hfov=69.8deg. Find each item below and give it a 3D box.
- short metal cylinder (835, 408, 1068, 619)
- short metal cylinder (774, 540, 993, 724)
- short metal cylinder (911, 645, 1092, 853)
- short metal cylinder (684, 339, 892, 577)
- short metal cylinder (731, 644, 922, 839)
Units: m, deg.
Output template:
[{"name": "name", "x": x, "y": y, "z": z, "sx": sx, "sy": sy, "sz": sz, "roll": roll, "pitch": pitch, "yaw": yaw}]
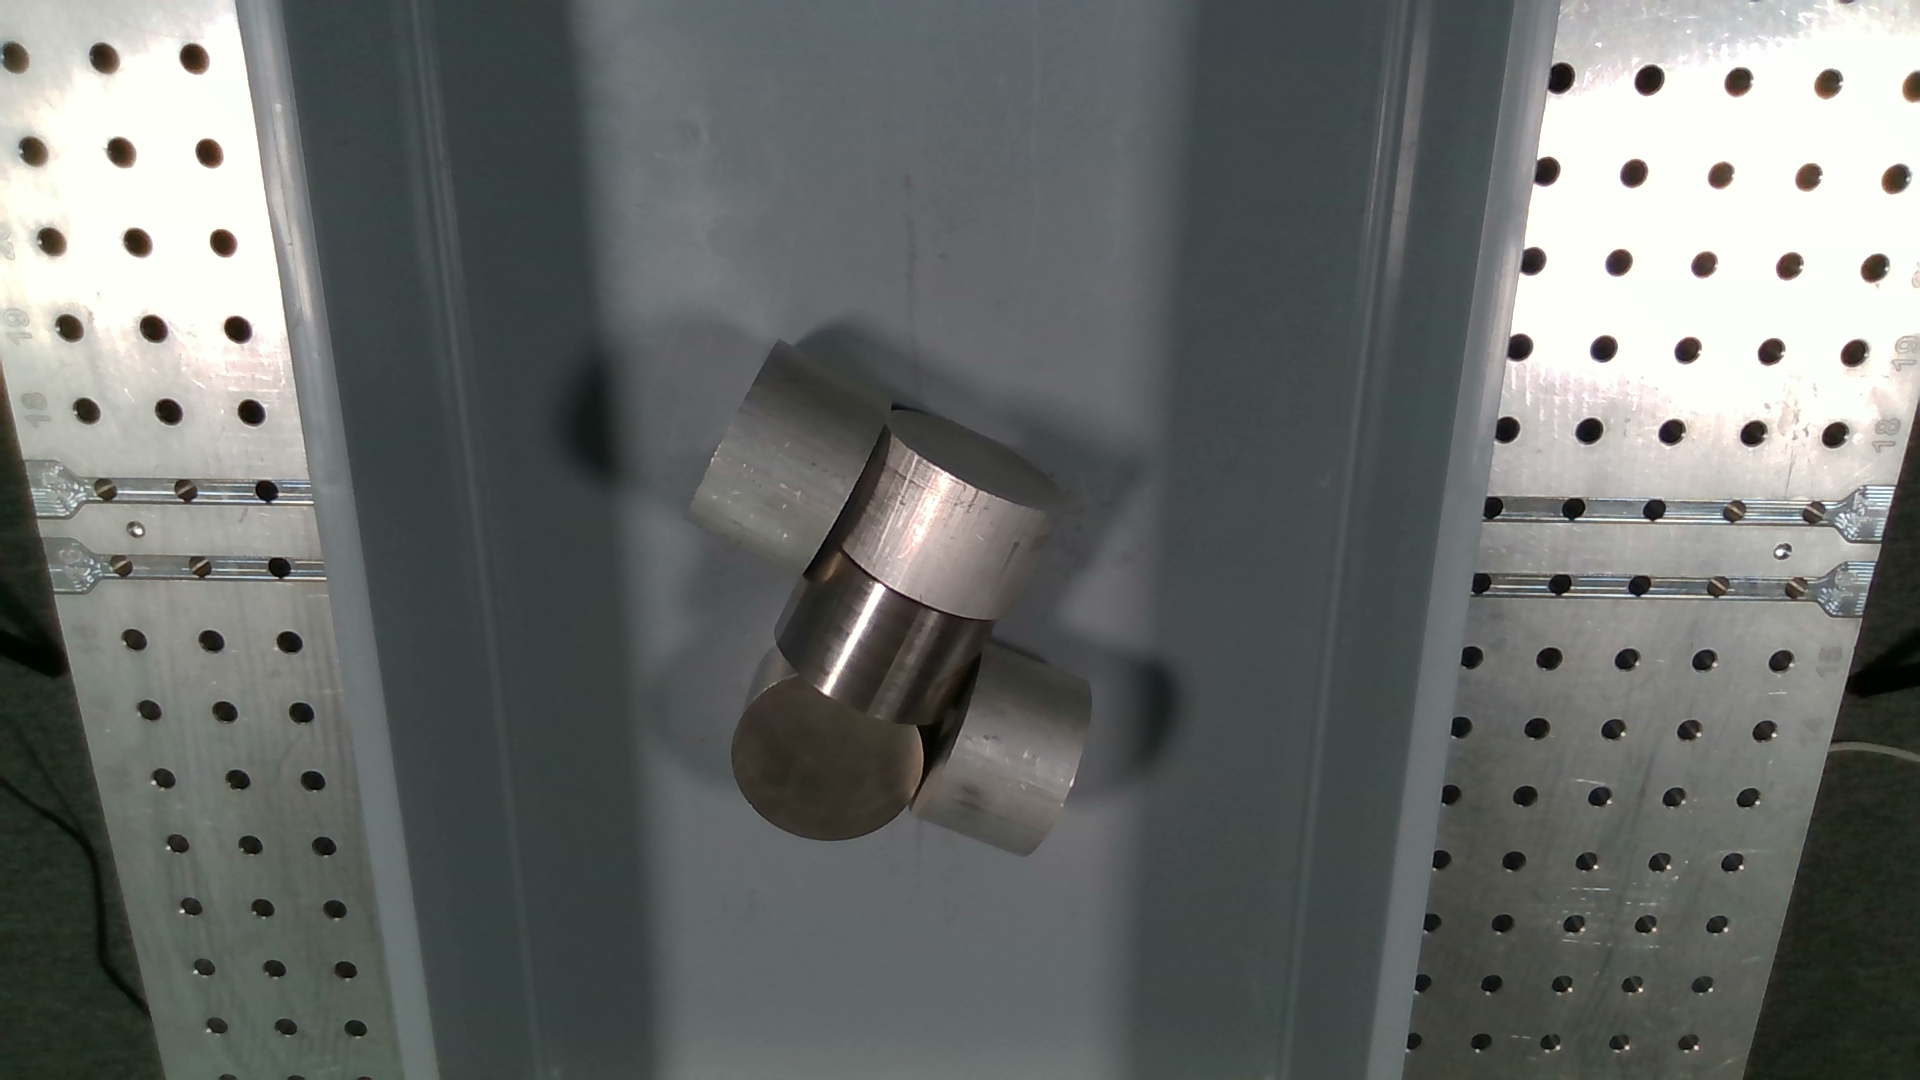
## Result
[{"name": "short metal cylinder", "x": -0.004, "y": -0.011, "z": 0.550, "sx": 0.080, "sy": 0.080, "sz": 0.050, "roll": 24, "pitch": 108, "yaw": -8}, {"name": "short metal cylinder", "x": -0.029, "y": 0.031, "z": 0.566, "sx": 0.080, "sy": 0.080, "sz": 0.050, "roll": 25, "pitch": 108, "yaw": -9}, {"name": "short metal cylinder", "x": 0.016, "y": 0.087, "z": 0.586, "sx": 0.050, "sy": 0.080, "sz": 0.080, "roll": 22, "pitch": 109, "yaw": -8}, {"name": "short metal cylinder", "x": -0.068, "y": -0.033, "z": 0.542, "sx": 0.050, "sy": 0.080, "sz": 0.080, "roll": 28, "pitch": 108, "yaw": -10}, {"name": "short metal cylinder", "x": -0.056, "y": 0.082, "z": 0.600, "sx": 0.080, "sy": 0.050, "sz": 0.080, "roll": 0, "pitch": 110, "yaw": 0}]
